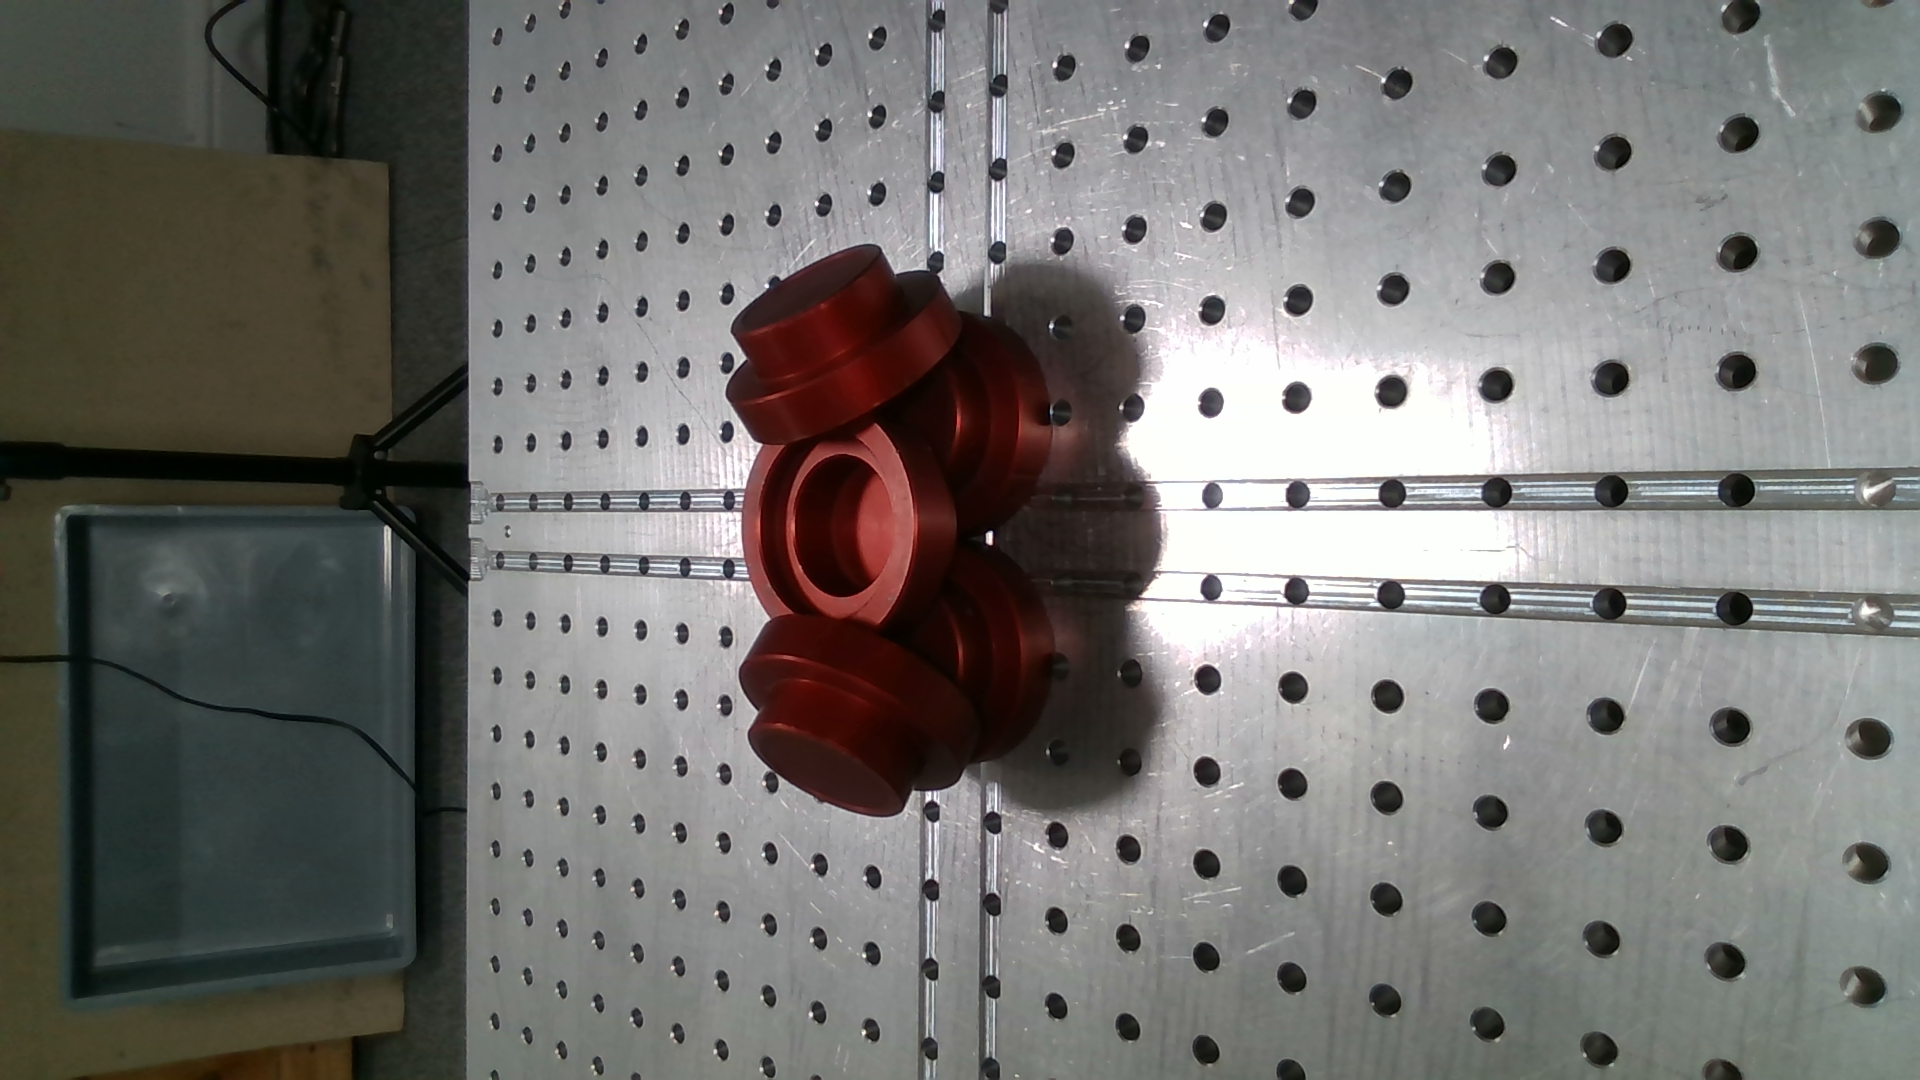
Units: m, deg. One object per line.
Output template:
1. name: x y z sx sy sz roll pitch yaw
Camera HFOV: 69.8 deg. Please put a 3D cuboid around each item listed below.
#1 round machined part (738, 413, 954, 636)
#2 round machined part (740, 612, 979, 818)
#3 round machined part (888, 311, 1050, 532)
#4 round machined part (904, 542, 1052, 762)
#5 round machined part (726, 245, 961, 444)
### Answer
1. round machined part: -0.041 -0.005 0.552 0.098 0.042 0.098 0 91 40
2. round machined part: -0.045 0.075 0.546 0.098 0.098 0.042 0 50 40
3. round machined part: -0.013 -0.049 0.584 0.098 0.042 0.098 0 91 40
4. round machined part: -0.013 0.048 0.585 0.098 0.042 0.098 0 91 40
5. round machined part: -0.052 -0.083 0.550 0.098 0.098 0.042 -7 123 40
